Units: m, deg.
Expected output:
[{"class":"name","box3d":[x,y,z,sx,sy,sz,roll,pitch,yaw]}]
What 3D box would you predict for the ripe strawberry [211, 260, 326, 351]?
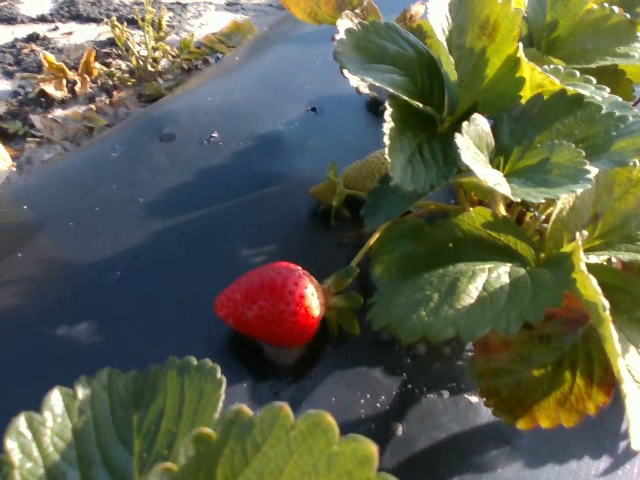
[{"class":"ripe strawberry","box3d":[-0.019,0.023,0.209,0.044,0.033,0.030,-3,4,-12]}]
